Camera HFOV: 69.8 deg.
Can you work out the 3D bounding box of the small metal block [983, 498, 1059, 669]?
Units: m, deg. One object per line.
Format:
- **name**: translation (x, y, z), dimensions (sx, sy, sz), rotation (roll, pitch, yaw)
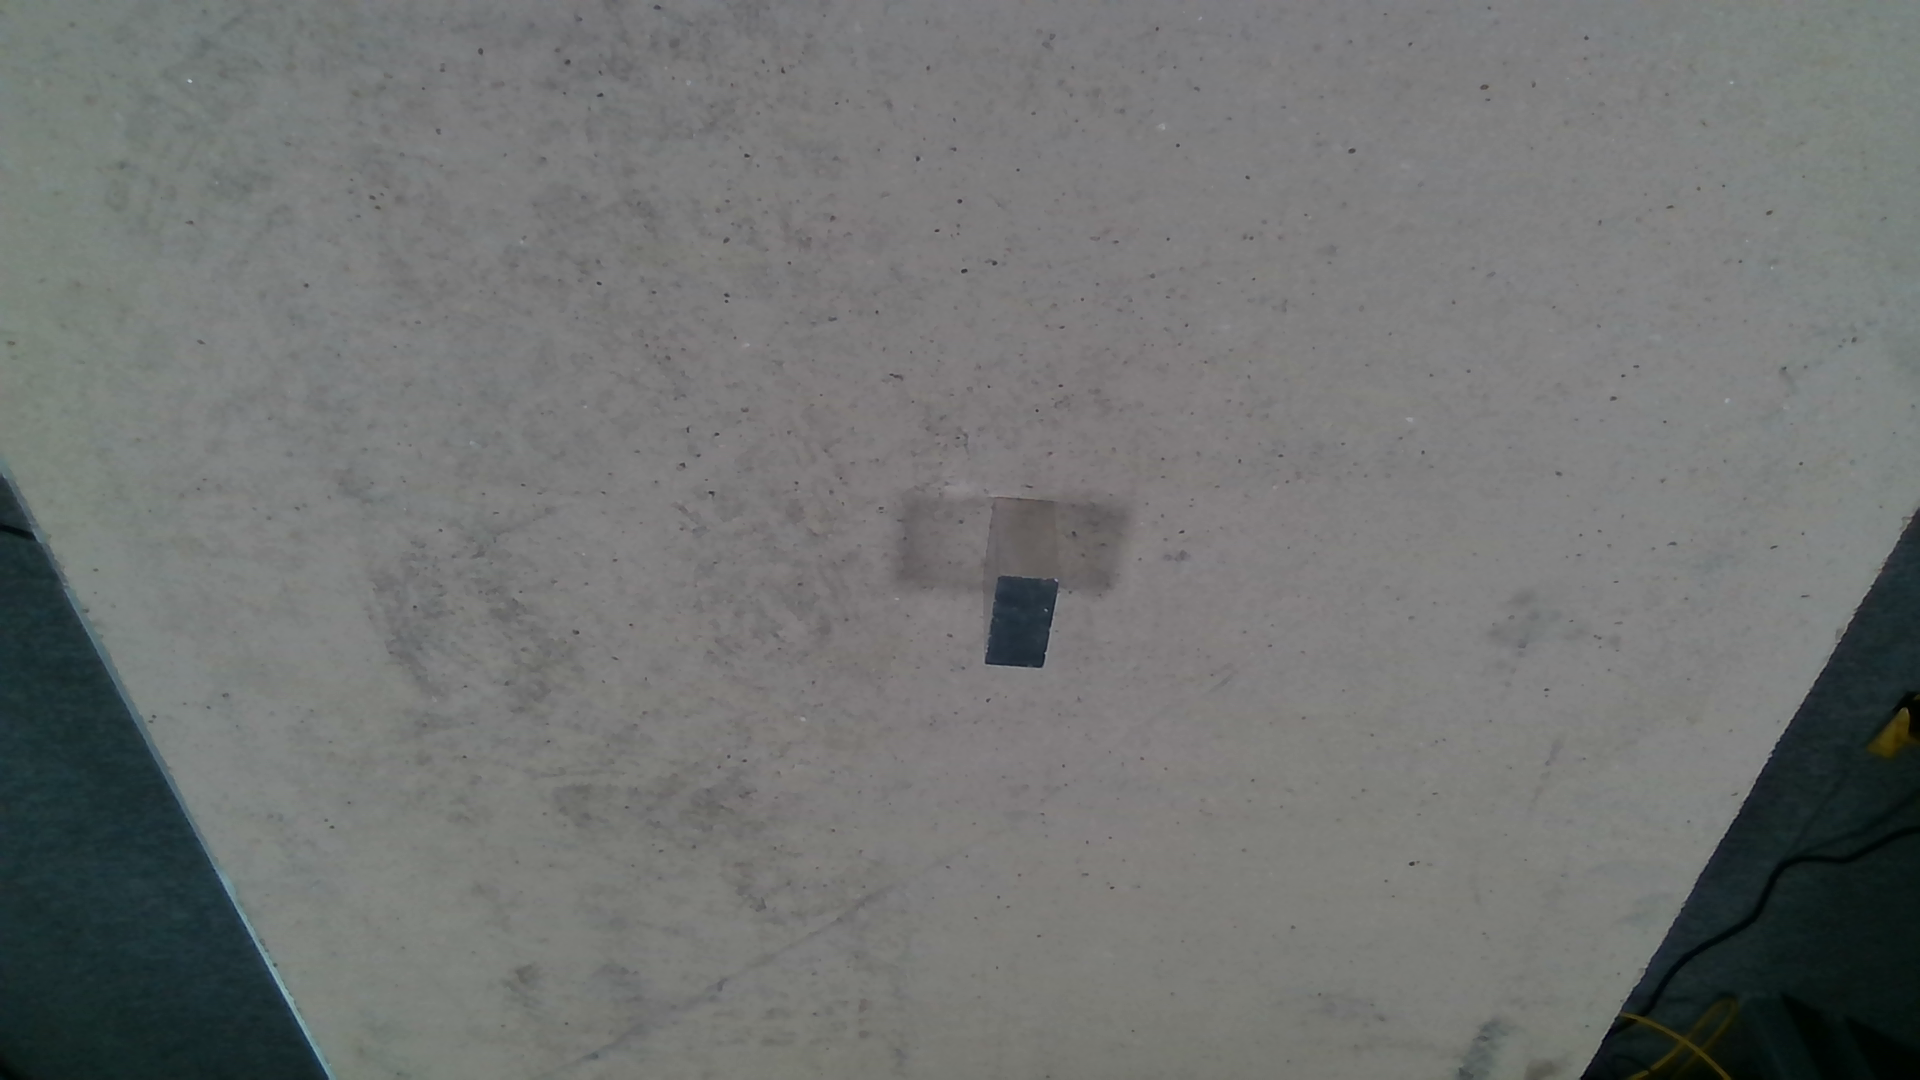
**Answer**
- **small metal block**: translation (0.025, 0.018, 0.578), dimensions (0.025, 0.050, 0.050), rotation (4, 130, -3)
